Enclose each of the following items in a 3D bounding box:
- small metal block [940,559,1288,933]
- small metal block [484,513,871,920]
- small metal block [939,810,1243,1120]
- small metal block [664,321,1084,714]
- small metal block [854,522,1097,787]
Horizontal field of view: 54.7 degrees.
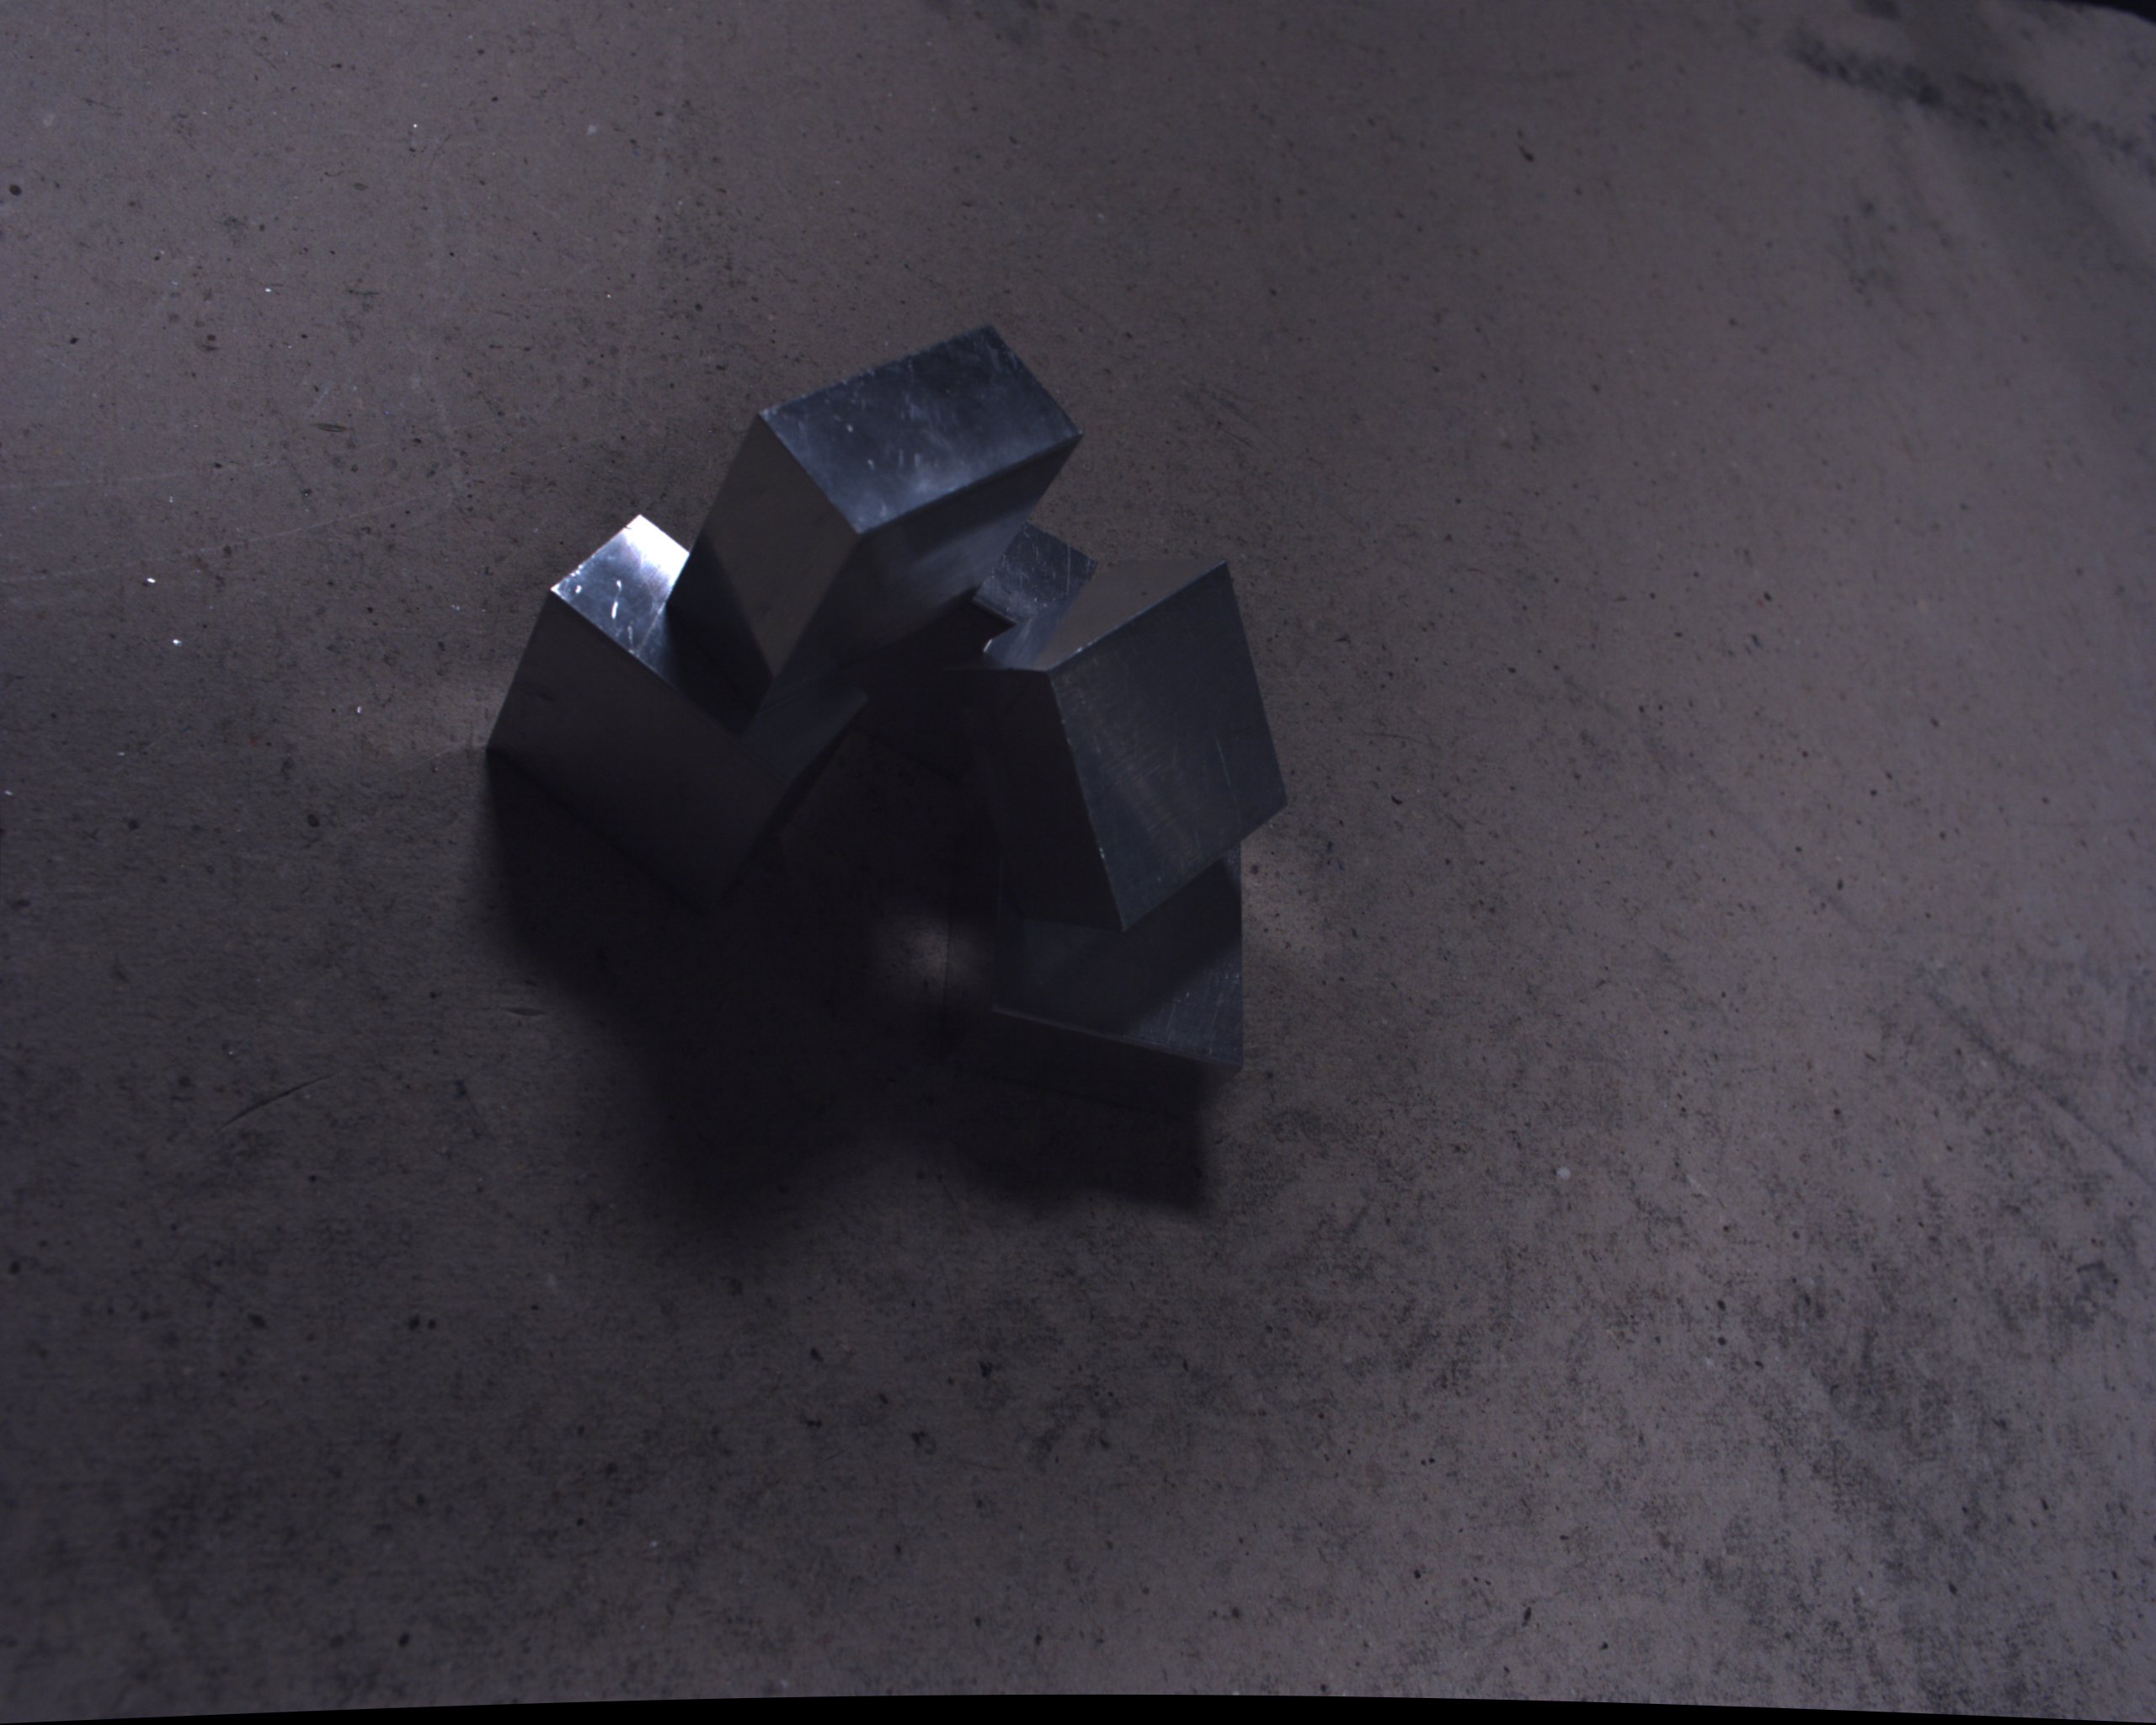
[{"bbox_3d":[0.008,-0.022,0.377,0.050,0.025,0.050,-36,119,-39],"label":"small metal block"},{"bbox_3d":[-0.072,-0.025,0.367,0.050,0.050,0.025,39,51,-3],"label":"small metal block"},{"bbox_3d":[0.003,0.017,0.398,0.050,0.025,0.050,15,56,-20],"label":"small metal block"},{"bbox_3d":[-0.034,-0.056,0.342,0.050,0.050,0.025,-33,81,-38],"label":"small metal block"},{"bbox_3d":[-0.032,-0.048,0.403,0.050,0.050,0.025,28,52,-11],"label":"small metal block"}]
